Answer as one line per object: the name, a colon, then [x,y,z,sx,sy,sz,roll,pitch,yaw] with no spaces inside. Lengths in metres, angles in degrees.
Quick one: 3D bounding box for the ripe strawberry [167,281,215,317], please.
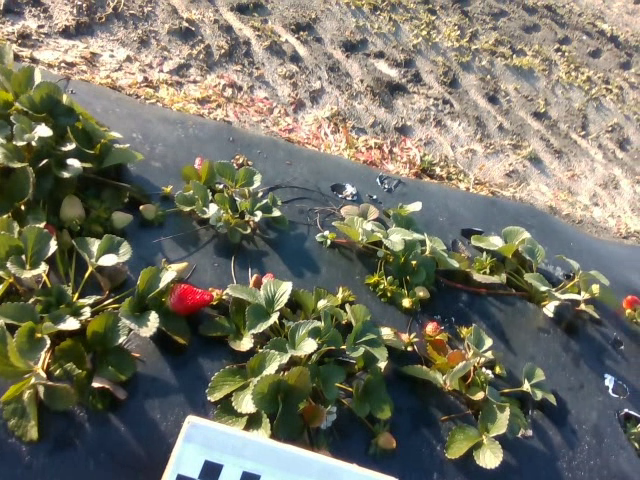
ripe strawberry: [-0.182,0.083,0.880,0.072,0.057,0.055,-3,4,-4]
